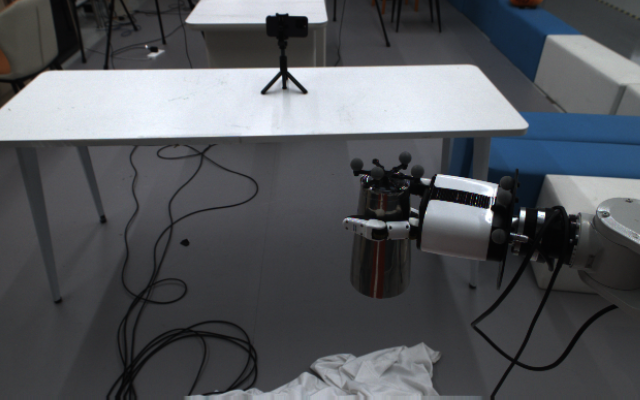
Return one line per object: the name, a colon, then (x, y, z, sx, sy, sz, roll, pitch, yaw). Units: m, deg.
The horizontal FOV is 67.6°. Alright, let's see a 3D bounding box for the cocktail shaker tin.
cocktail shaker tin: (0.093, 0.042, 0.694, 0.093, 0.170, 0.093, -1, 33, 1)
